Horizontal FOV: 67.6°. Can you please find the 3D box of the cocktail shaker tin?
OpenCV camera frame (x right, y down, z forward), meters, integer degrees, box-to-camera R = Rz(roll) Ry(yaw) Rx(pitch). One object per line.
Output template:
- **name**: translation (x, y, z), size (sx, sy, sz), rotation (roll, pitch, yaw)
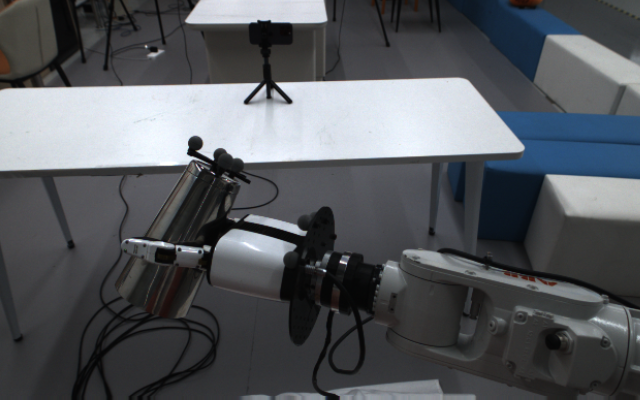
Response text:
- **cocktail shaker tin**: translation (-0.161, 0.040, 0.577), size (0.093, 0.170, 0.093), rotation (27, 2, -1)
